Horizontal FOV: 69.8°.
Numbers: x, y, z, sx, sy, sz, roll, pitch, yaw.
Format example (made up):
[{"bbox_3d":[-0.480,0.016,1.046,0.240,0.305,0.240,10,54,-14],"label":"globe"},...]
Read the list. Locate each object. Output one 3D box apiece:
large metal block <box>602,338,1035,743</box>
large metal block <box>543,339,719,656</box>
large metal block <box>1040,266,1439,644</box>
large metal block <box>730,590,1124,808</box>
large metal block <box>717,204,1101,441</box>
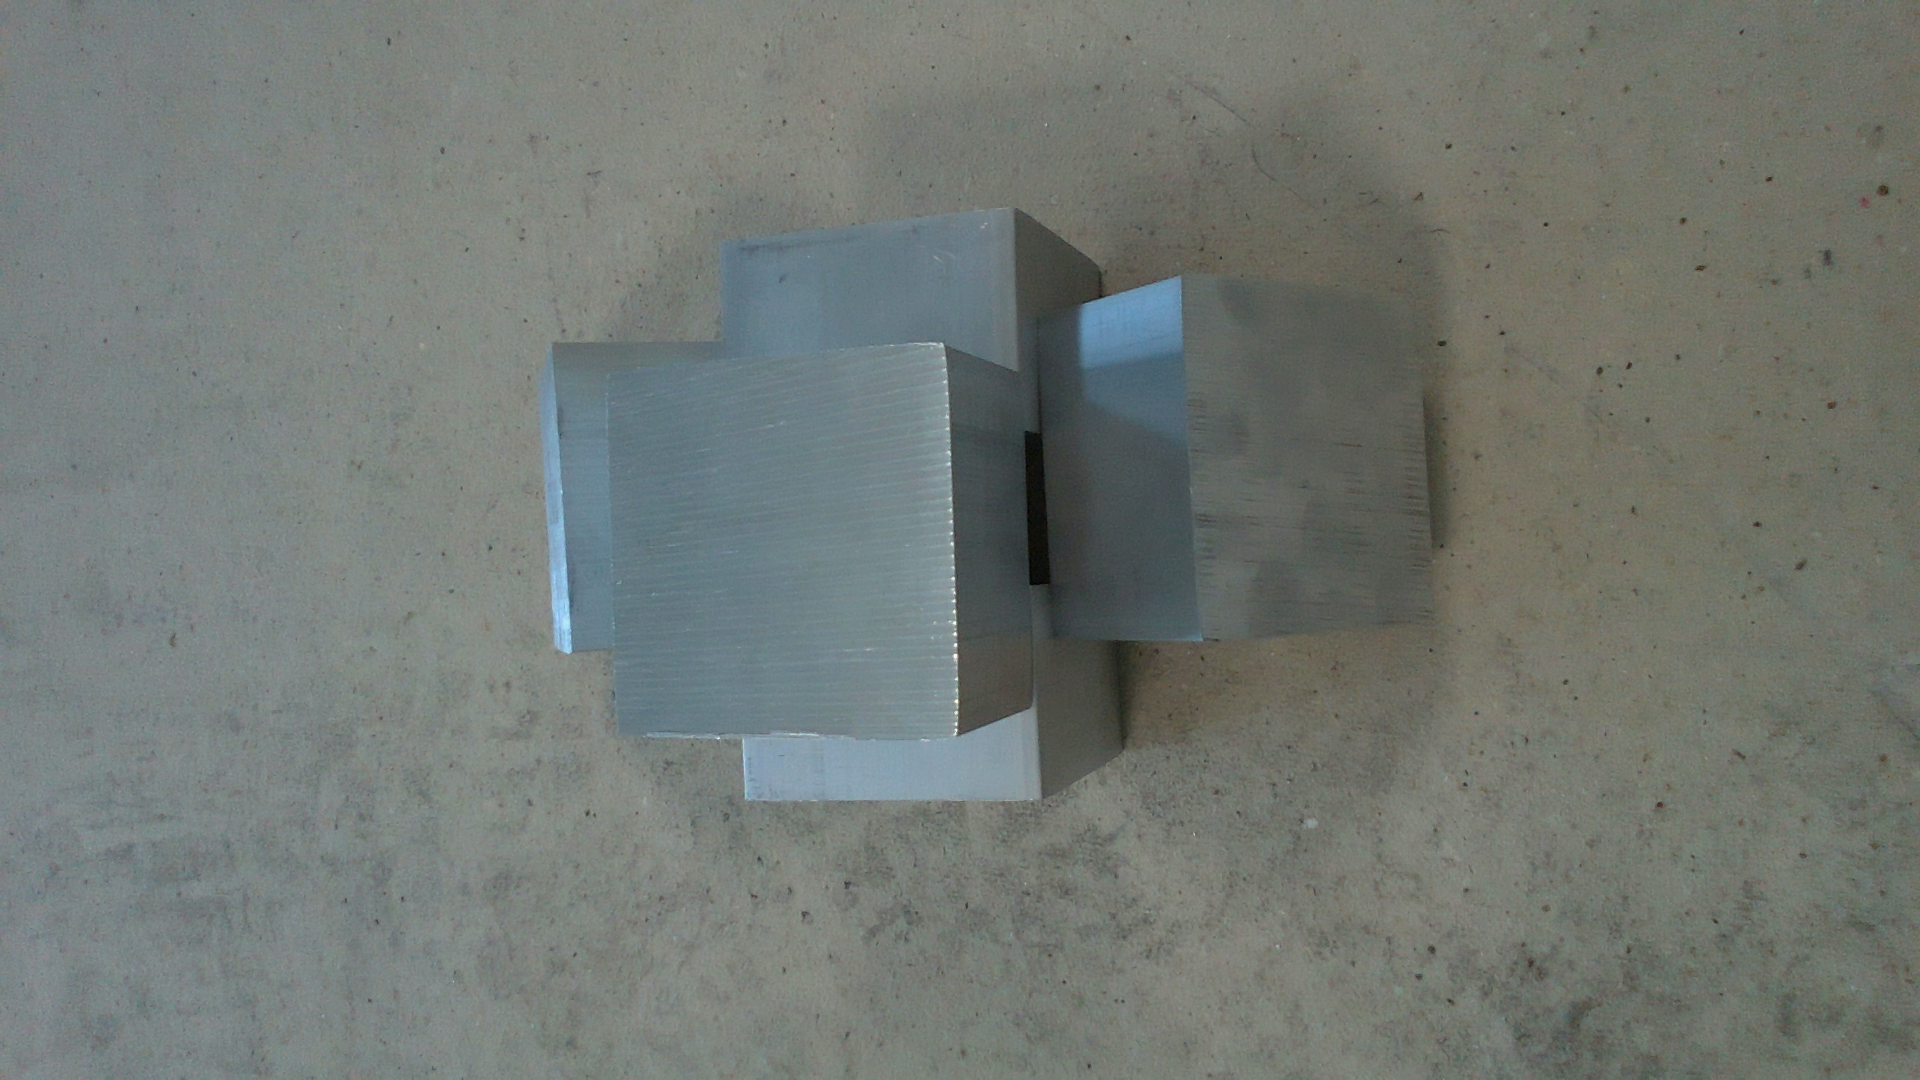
[{"bbox_3d":[-0.030,0.001,0.308,0.080,0.050,0.080,-2,89,20],"label":"large metal block"},{"bbox_3d":[-0.090,-0.010,0.392,0.050,0.080,0.080,-3,88,-20],"label":"large metal block"},{"bbox_3d":[0.068,-0.018,0.334,0.050,0.080,0.080,-5,88,54],"label":"large metal block"},{"bbox_3d":[-0.005,0.040,0.370,0.080,0.080,0.050,-4,89,20],"label":"large metal block"},{"bbox_3d":[-0.009,-0.052,0.370,0.080,0.080,0.050,-2,89,20],"label":"large metal block"}]
